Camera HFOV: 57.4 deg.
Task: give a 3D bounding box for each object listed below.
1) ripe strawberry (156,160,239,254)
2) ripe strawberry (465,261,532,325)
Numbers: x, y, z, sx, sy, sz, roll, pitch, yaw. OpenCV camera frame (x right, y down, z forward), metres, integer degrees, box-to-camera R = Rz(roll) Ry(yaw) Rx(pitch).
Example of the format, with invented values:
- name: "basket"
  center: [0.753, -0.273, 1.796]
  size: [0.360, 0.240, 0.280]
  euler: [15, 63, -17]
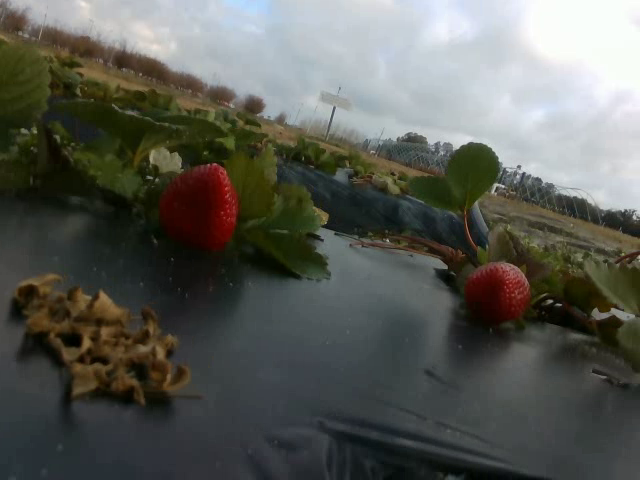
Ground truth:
- name: "ripe strawberry"
  center: [-0.054, -0.020, 0.256]
  size: [0.046, 0.050, 0.050]
  euler: [-42, -13, -33]
- name: "ripe strawberry"
  center: [0.091, 0.024, 0.297]
  size: [0.041, 0.045, 0.052]
  euler: [-34, -28, 1]
